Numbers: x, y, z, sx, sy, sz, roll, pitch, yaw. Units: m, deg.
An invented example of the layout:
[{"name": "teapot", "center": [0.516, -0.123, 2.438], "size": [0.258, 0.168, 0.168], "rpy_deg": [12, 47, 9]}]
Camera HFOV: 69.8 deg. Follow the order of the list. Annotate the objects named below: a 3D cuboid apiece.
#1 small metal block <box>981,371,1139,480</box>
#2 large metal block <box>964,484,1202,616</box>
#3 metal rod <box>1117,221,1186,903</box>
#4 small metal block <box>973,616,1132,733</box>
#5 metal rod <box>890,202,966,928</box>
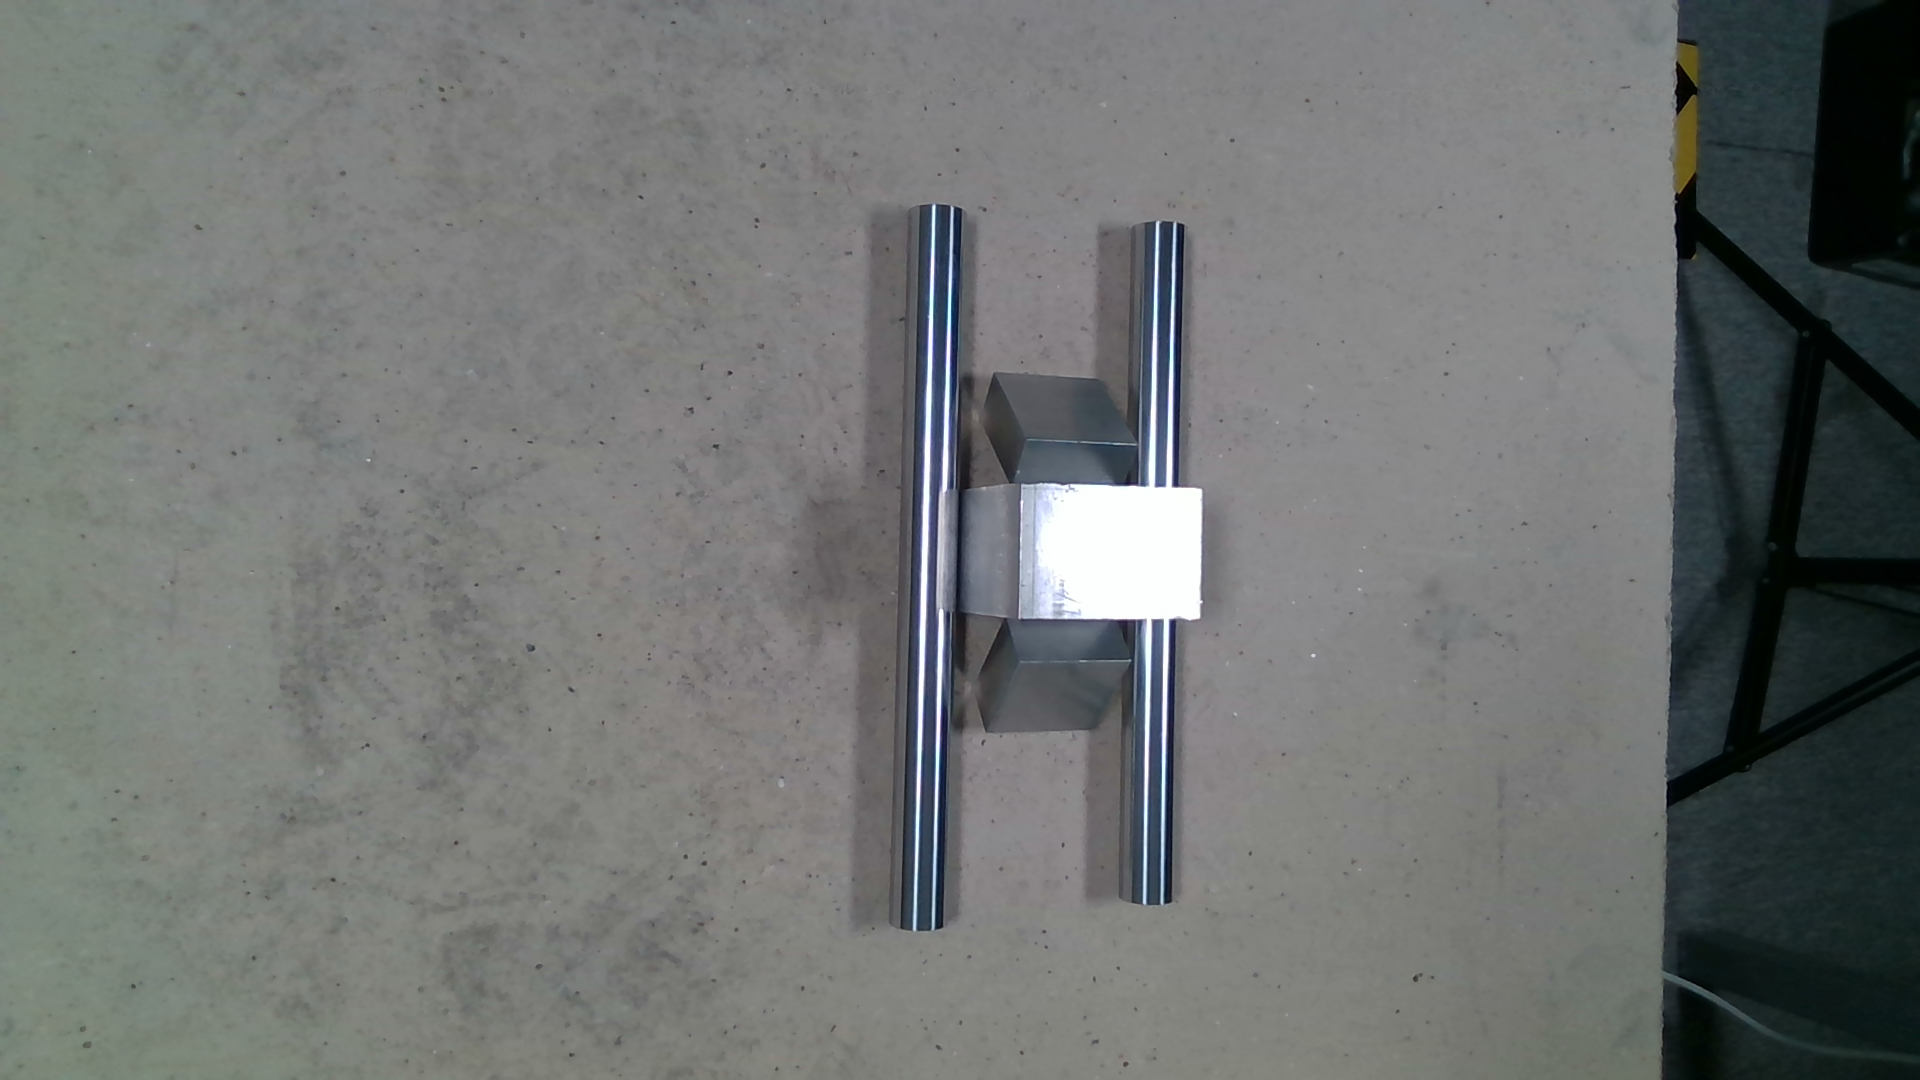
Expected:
[{"name": "small metal block", "center": [0.041, -0.046, 0.586], "size": [0.050, 0.050, 0.025], "rpy_deg": [1, 129, -20]}, {"name": "large metal block", "center": [0.046, 0.004, 0.576], "size": [0.080, 0.080, 0.050], "rpy_deg": [1, 90, -20]}, {"name": "metal rod", "center": [0.086, 0.010, 0.618], "size": [0.025, 0.025, 0.300], "rpy_deg": [1, 90, -20]}, {"name": "small metal block", "center": [0.038, 0.057, 0.586], "size": [0.050, 0.050, 0.025], "rpy_deg": [1, 48, -21]}, {"name": "metal rod", "center": [-0.014, 0.010, 0.581], "size": [0.025, 0.025, 0.300], "rpy_deg": [2, 90, -20]}]
